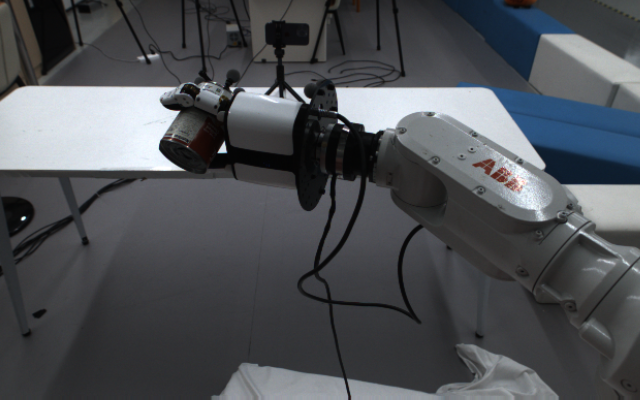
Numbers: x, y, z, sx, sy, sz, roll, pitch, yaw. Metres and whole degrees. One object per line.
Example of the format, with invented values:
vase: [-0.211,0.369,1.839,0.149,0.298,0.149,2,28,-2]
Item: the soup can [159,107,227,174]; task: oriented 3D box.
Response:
soup can: [-0.153,-0.094,0.622,0.067,0.067,0.101,16,63,19]
